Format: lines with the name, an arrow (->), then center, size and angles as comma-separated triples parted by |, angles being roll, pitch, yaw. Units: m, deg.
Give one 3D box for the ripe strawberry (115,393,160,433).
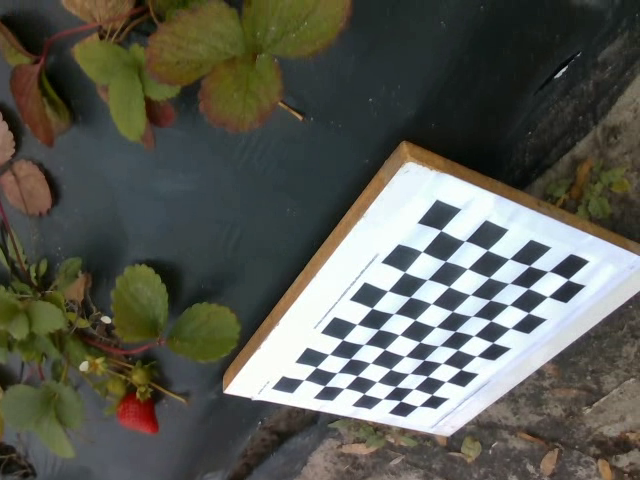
ripe strawberry -> -0.051, 0.048, 0.155 | 0.017, 0.018, 0.014 | 41, 21, 11
